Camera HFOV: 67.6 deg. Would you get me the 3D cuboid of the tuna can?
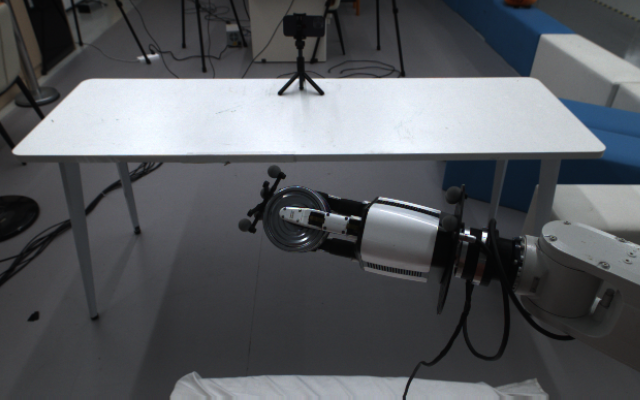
[{"bbox_3d":[-0.026,0.029,0.618,0.085,0.085,0.034,9,-4,10],"label":"tuna can"}]
